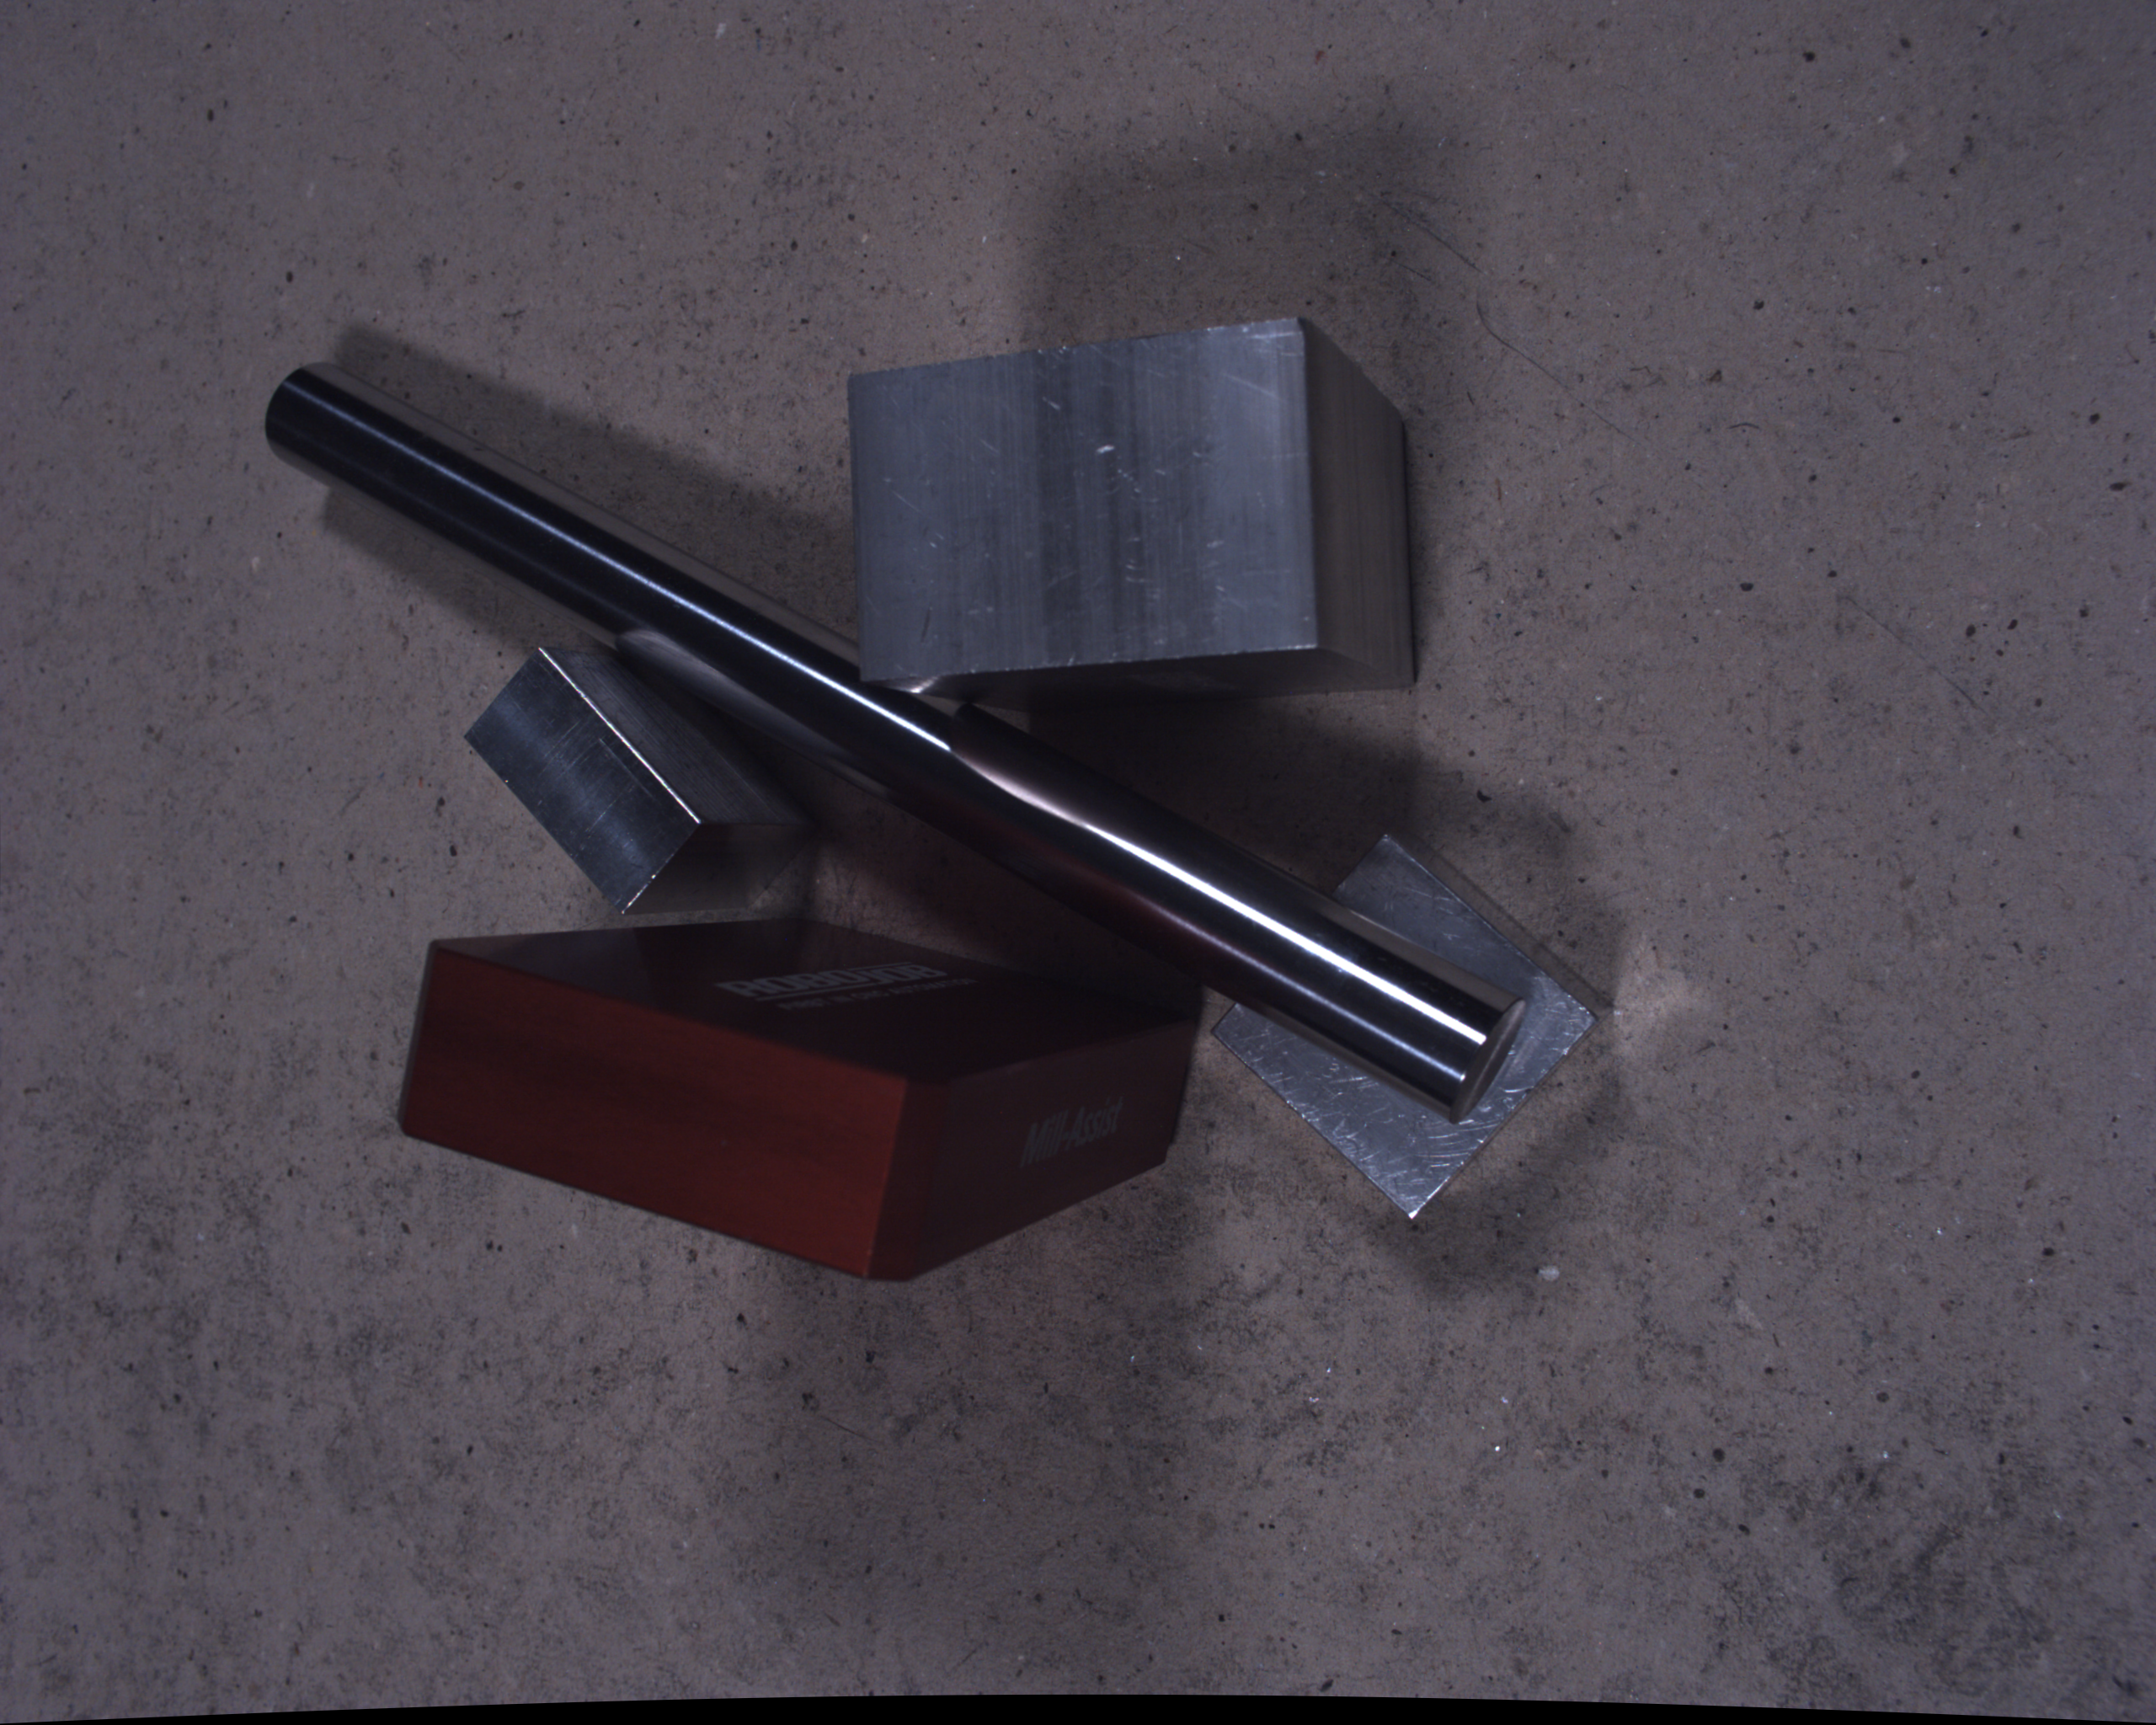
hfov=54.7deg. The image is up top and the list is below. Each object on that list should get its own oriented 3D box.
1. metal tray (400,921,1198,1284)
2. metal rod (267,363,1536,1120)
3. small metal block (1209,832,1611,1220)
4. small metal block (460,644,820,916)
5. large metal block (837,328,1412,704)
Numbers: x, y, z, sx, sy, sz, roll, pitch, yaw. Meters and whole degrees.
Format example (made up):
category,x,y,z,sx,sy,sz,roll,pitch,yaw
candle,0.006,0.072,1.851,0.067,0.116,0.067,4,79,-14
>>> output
category,x,y,z,sx,sy,sz,roll,pitch,yaw
metal tray,-0.041,0.036,0.368,0.090,0.130,0.030,13,95,19
metal rod,-0.050,-0.034,0.412,0.300,0.025,0.025,29,99,22
small metal block,0.062,0.029,0.388,0.050,0.025,0.050,43,103,14
small metal block,-0.088,-0.016,0.426,0.050,0.050,0.025,46,104,14
large metal block,0.012,-0.057,0.375,0.080,0.080,0.050,-2,90,19
